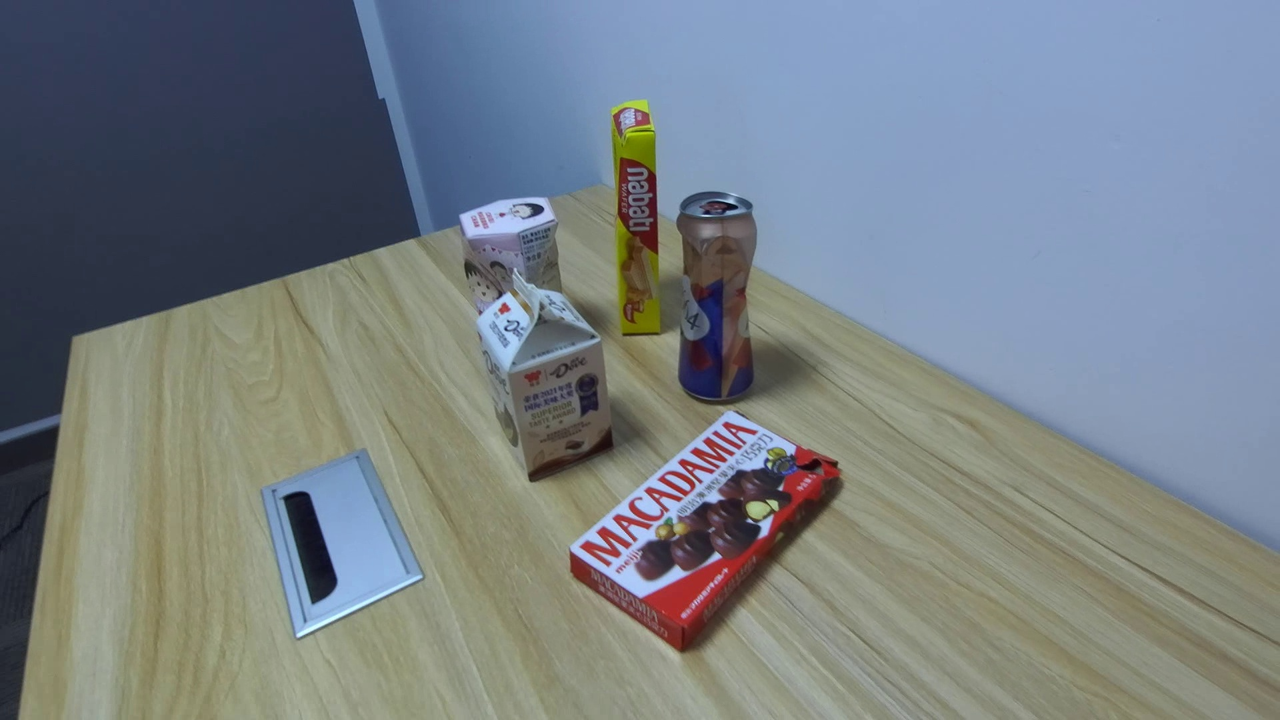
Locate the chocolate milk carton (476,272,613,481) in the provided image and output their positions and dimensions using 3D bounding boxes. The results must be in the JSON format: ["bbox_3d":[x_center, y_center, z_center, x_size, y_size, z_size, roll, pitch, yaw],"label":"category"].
[{"bbox_3d":[-0.071,0.004,0.525,0.074,0.148,0.075,-20,39,-19],"label":"chocolate milk carton"}]

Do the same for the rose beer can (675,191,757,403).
[{"bbox_3d":[0.063,-0.047,0.568,0.065,0.167,0.075,0,32,3],"label":"rose beer can"}]

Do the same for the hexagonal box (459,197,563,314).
[{"bbox_3d":[-0.113,-0.076,0.665,0.088,0.135,0.093,18,42,31],"label":"hexagonal box"}]

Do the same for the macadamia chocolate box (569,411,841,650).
[{"bbox_3d":[0.052,0.102,0.478,0.102,0.027,0.187,25,45,33],"label":"macadamia chocolate box"}]

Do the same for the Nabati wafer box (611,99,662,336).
[{"bbox_3d":[-0.003,-0.128,0.665,0.042,0.204,0.096,-2,35,1],"label":"Nabati wafer box"}]
